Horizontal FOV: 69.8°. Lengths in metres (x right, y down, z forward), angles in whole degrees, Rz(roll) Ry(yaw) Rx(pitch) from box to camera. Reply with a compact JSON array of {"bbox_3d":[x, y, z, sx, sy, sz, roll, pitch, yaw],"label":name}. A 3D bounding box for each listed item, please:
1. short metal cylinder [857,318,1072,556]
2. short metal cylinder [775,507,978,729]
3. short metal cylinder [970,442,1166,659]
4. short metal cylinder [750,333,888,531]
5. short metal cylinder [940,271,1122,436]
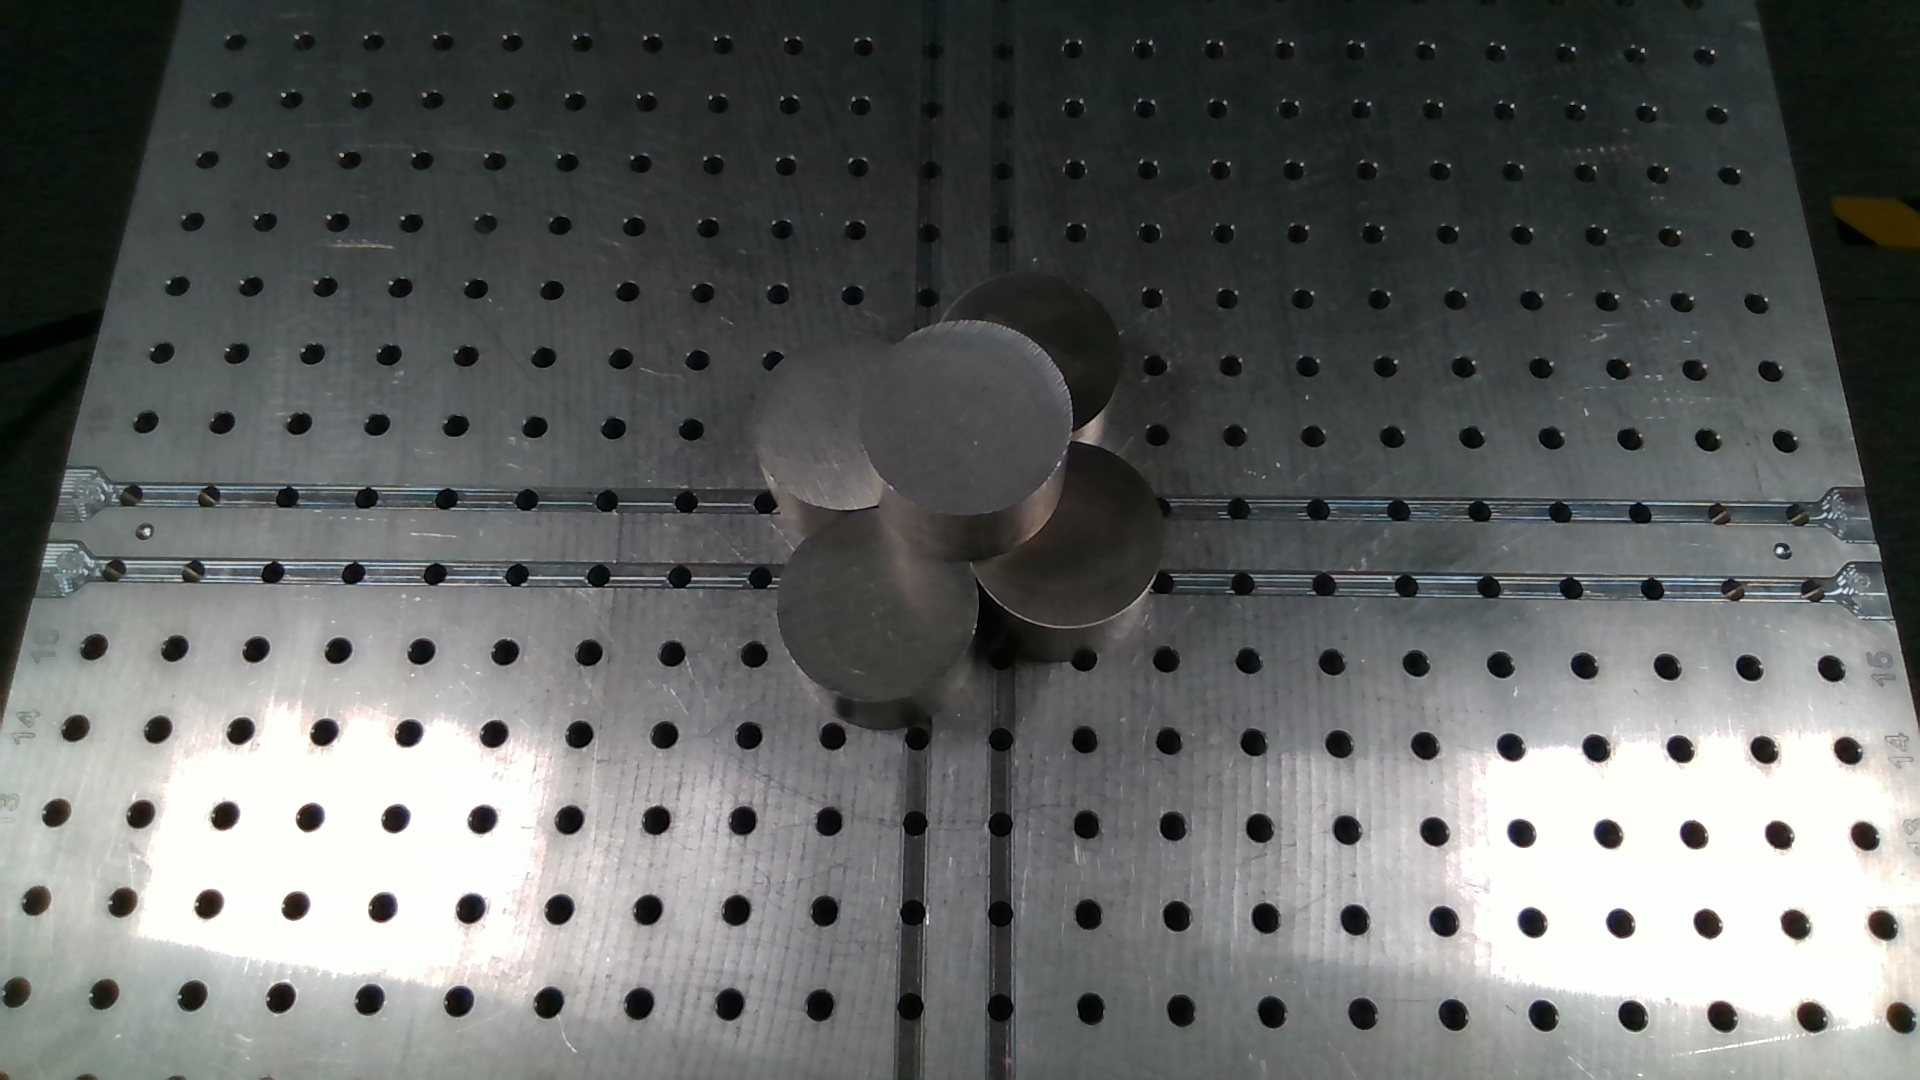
[{"bbox_3d":[0.002,-0.039,0.536,0.080,0.050,0.080,0,71,1],"label":"short metal cylinder"},{"bbox_3d":[-0.033,0.033,0.565,0.080,0.050,0.080,0,70,0],"label":"short metal cylinder"},{"bbox_3d":[0.042,0.005,0.575,0.080,0.050,0.080,0,70,0],"label":"short metal cylinder"},{"bbox_3d":[-0.047,-0.041,0.591,0.080,0.050,0.080,0,70,0],"label":"short metal cylinder"},{"bbox_3d":[0.028,-0.069,0.601,0.080,0.050,0.080,0,70,0],"label":"short metal cylinder"}]
